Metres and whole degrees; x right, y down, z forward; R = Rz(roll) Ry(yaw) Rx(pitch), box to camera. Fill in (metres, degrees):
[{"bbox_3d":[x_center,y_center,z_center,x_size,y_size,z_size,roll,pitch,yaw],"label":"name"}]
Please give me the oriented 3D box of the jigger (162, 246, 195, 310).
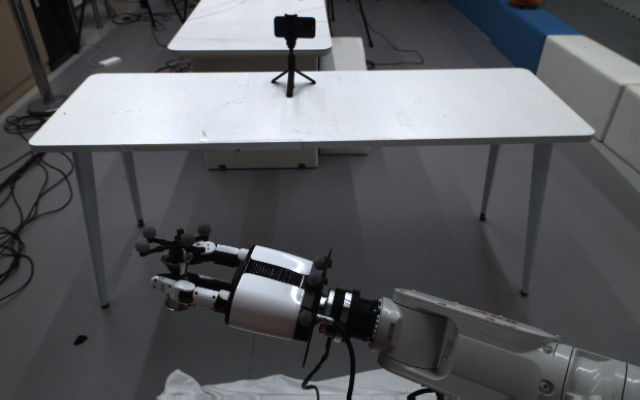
[{"bbox_3d":[-0.184,0.105,0.634,0.043,0.071,0.043,1,22,0],"label":"jigger"}]
